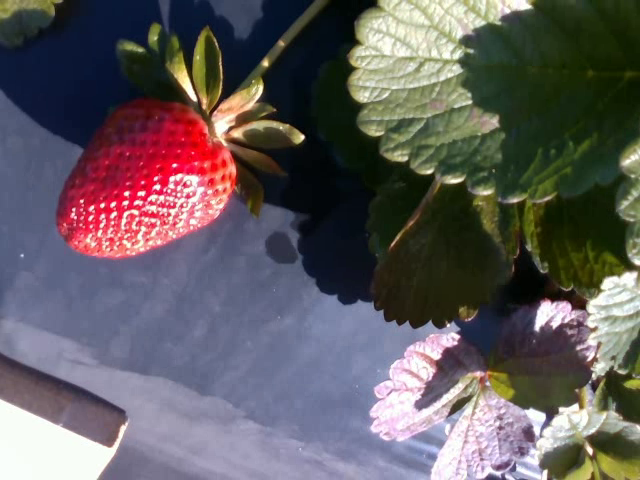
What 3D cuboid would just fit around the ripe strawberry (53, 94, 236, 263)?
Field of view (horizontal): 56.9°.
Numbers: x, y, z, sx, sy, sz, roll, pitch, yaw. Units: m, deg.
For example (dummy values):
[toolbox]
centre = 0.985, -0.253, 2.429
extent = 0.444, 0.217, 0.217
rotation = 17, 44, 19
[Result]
[ripe strawberry]
centre = -0.048, -0.013, 0.156
extent = 0.043, 0.043, 0.050
rotation = 11, 45, 47
